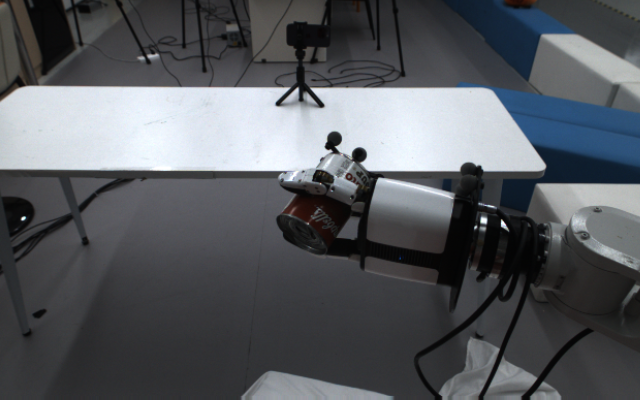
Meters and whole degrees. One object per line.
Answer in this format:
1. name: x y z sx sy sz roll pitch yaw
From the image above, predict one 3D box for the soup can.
1. soup can: 0.008 0.003 0.552 0.067 0.067 0.101 22 60 26
